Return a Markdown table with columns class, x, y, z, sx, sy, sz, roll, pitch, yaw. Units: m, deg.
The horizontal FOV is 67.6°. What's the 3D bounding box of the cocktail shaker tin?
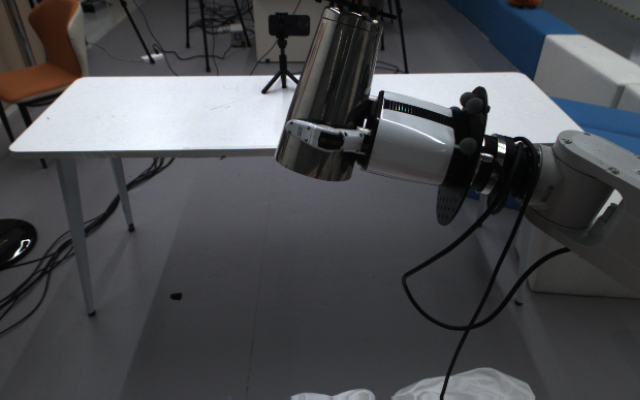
| class | x | y | z | sx | sy | sz | roll | pitch | yaw |
| --- | --- | --- | --- | --- | --- | --- | --- | --- | --- |
| cocktail shaker tin | 0.015 | -0.117 | 0.536 | 0.093 | 0.170 | 0.093 | 14 | 20 | -5 |
